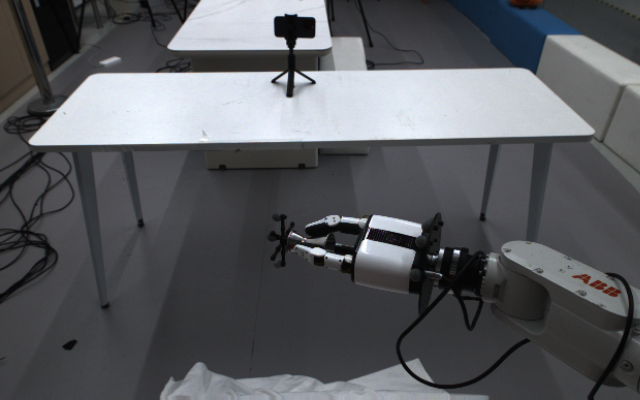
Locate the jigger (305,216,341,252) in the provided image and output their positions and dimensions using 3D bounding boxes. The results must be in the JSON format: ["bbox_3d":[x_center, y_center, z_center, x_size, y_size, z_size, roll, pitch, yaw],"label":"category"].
[{"bbox_3d":[-0.008,0.068,0.782,0.071,0.043,0.043,4,33,22],"label":"jigger"}]
